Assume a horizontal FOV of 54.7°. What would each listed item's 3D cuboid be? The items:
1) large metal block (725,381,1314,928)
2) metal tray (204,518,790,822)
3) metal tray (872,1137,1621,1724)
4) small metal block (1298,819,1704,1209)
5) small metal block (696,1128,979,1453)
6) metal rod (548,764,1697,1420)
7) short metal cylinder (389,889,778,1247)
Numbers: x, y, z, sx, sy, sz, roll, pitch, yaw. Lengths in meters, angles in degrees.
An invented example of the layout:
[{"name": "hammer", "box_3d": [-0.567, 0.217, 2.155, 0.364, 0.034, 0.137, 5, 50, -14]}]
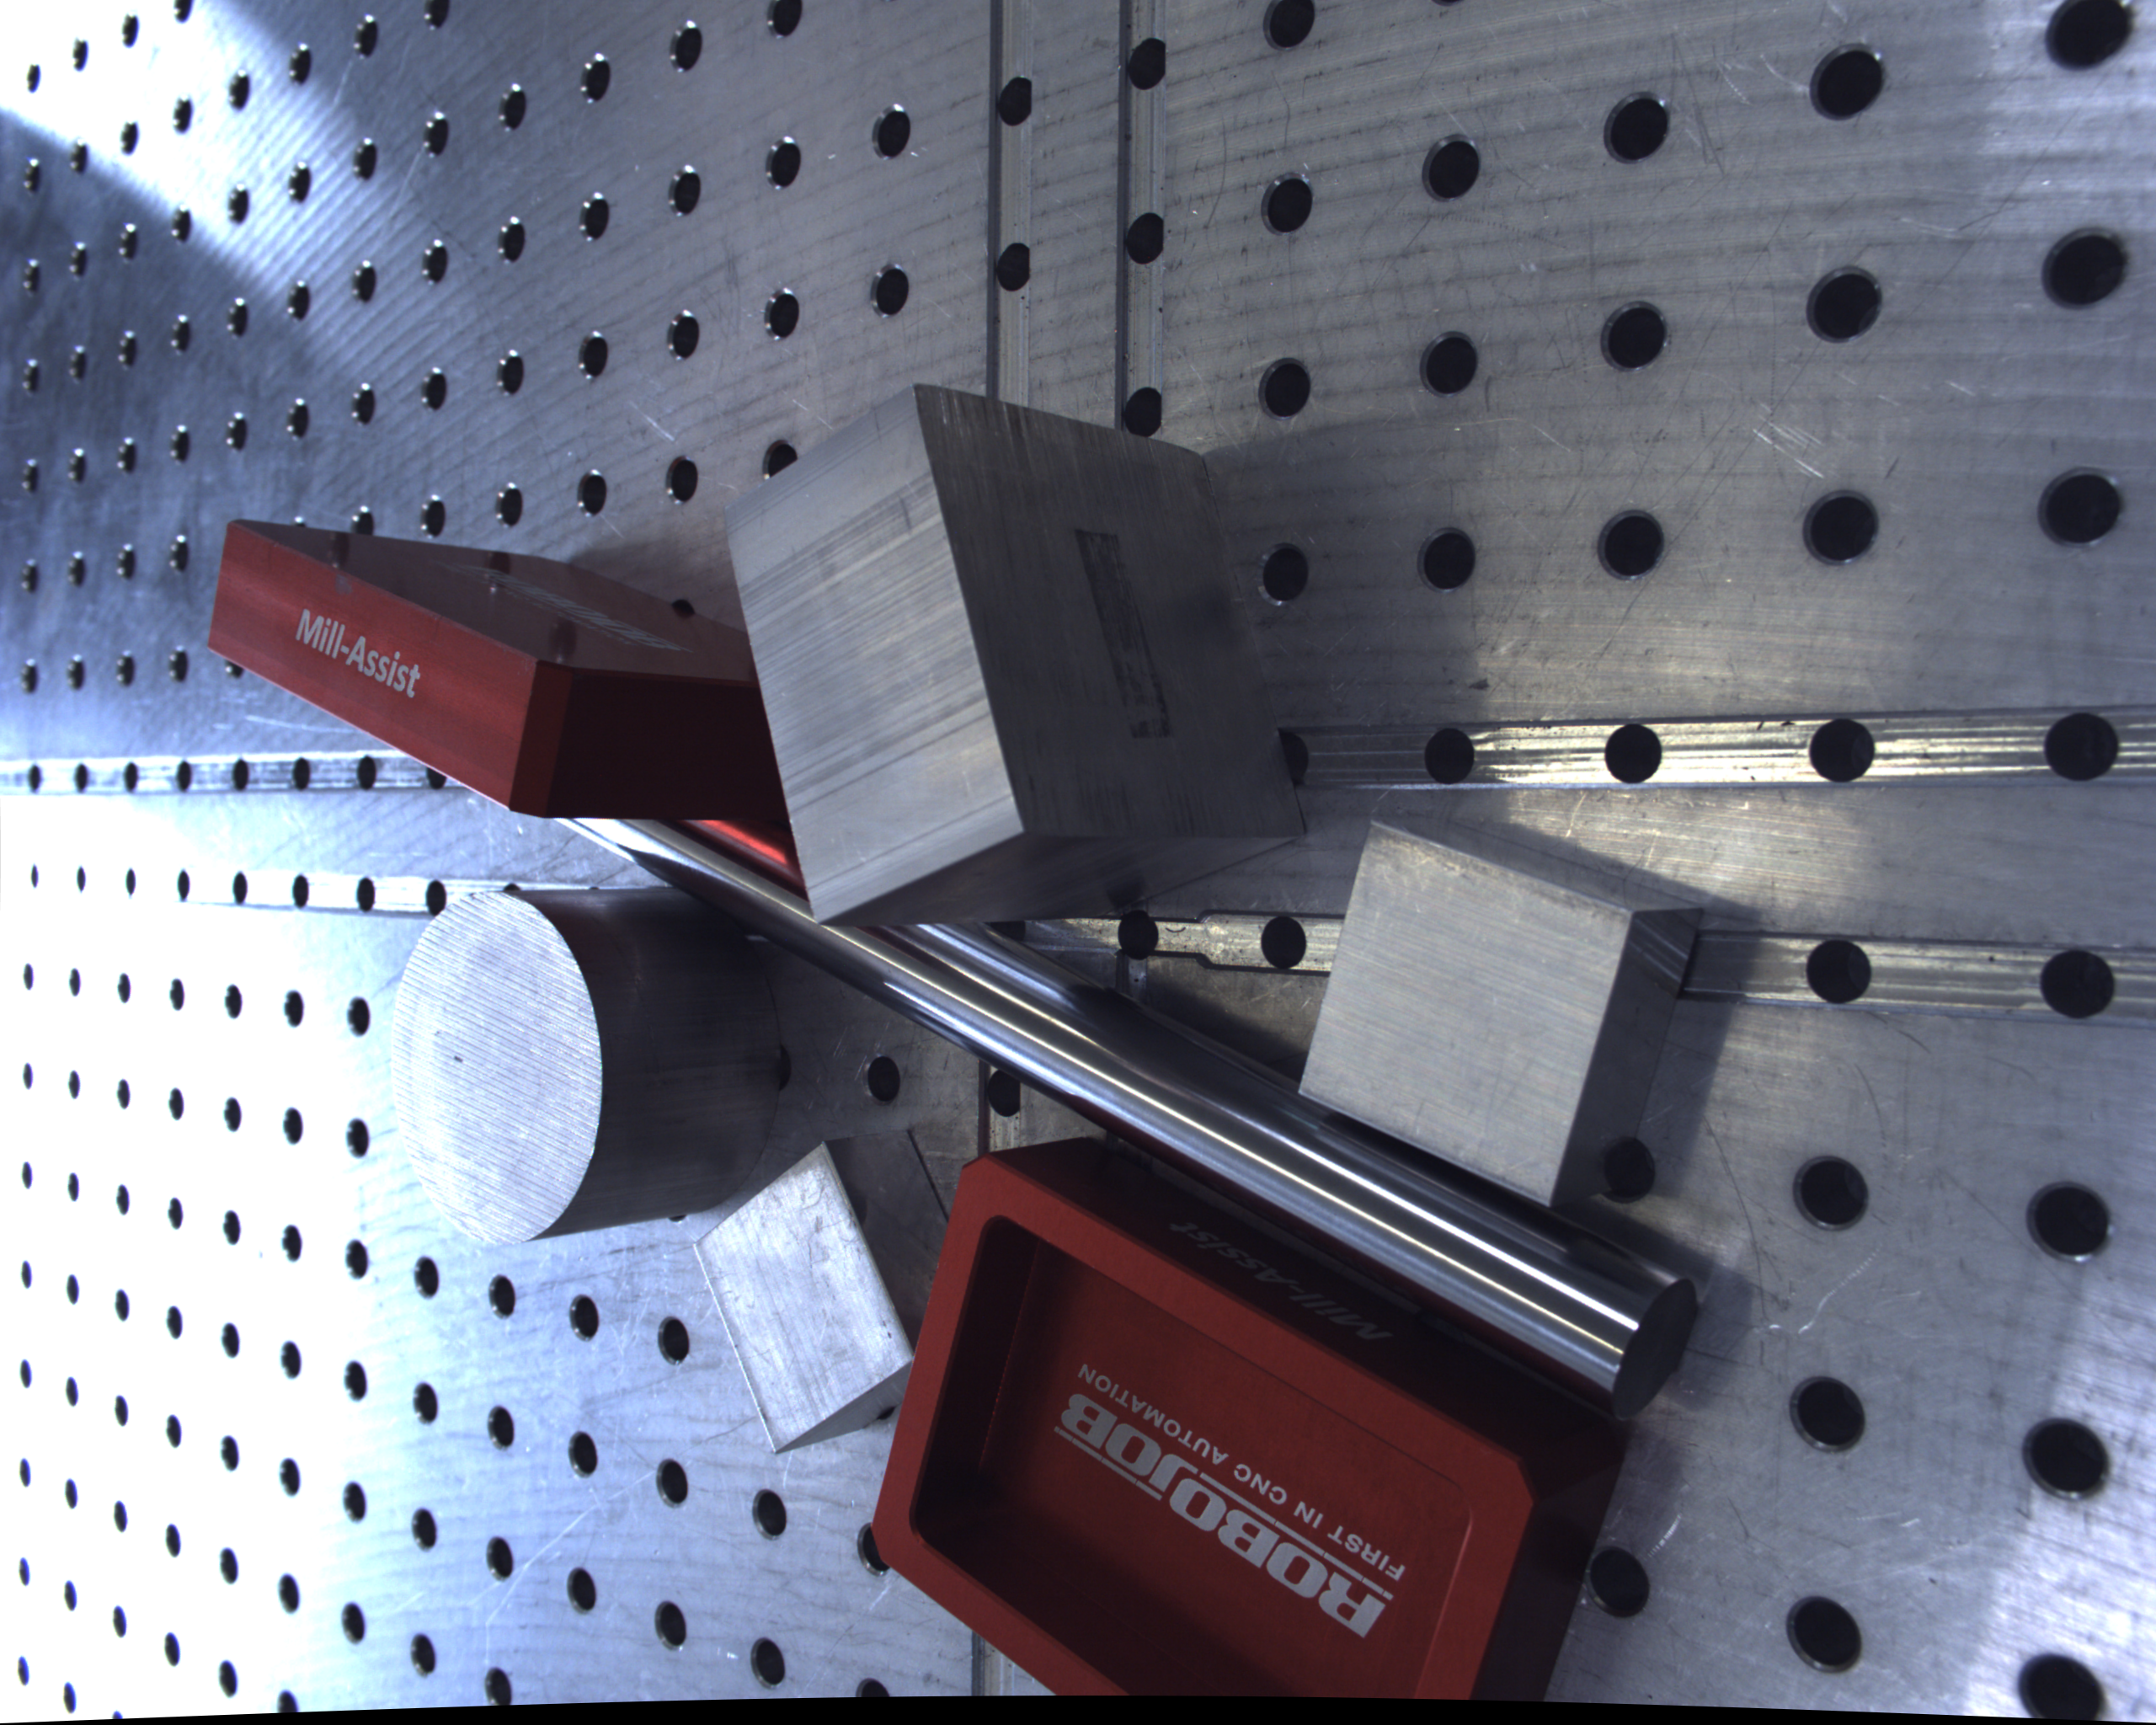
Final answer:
[{"name": "large metal block", "box_3d": [-0.010, -0.034, 0.383, 0.050, 0.081, 0.080, -23, 75, 38]}, {"name": "metal tray", "box_3d": [-0.120, -0.043, 0.465, 0.130, 0.091, 0.030, 24, 105, 37]}, {"name": "metal tray", "box_3d": [0.025, 0.117, 0.385, 0.130, 0.030, 0.089, 23, 105, 37]}, {"name": "small metal block", "box_3d": [0.070, 0.024, 0.351, 0.050, 0.025, 0.050, 22, 104, 38]}, {"name": "small metal block", "box_3d": [-0.050, 0.092, 0.452, 0.050, 0.025, 0.050, -39, 66, 33]}, {"name": "metal rod", "box_3d": [-0.017, 0.027, 0.423, 0.300, 0.025, 0.025, 25, 106, 37]}, {"name": "short metal cylinder", "box_3d": [-0.116, 0.046, 0.488, 0.080, 0.050, 0.080, 0, 90, 40]}]
